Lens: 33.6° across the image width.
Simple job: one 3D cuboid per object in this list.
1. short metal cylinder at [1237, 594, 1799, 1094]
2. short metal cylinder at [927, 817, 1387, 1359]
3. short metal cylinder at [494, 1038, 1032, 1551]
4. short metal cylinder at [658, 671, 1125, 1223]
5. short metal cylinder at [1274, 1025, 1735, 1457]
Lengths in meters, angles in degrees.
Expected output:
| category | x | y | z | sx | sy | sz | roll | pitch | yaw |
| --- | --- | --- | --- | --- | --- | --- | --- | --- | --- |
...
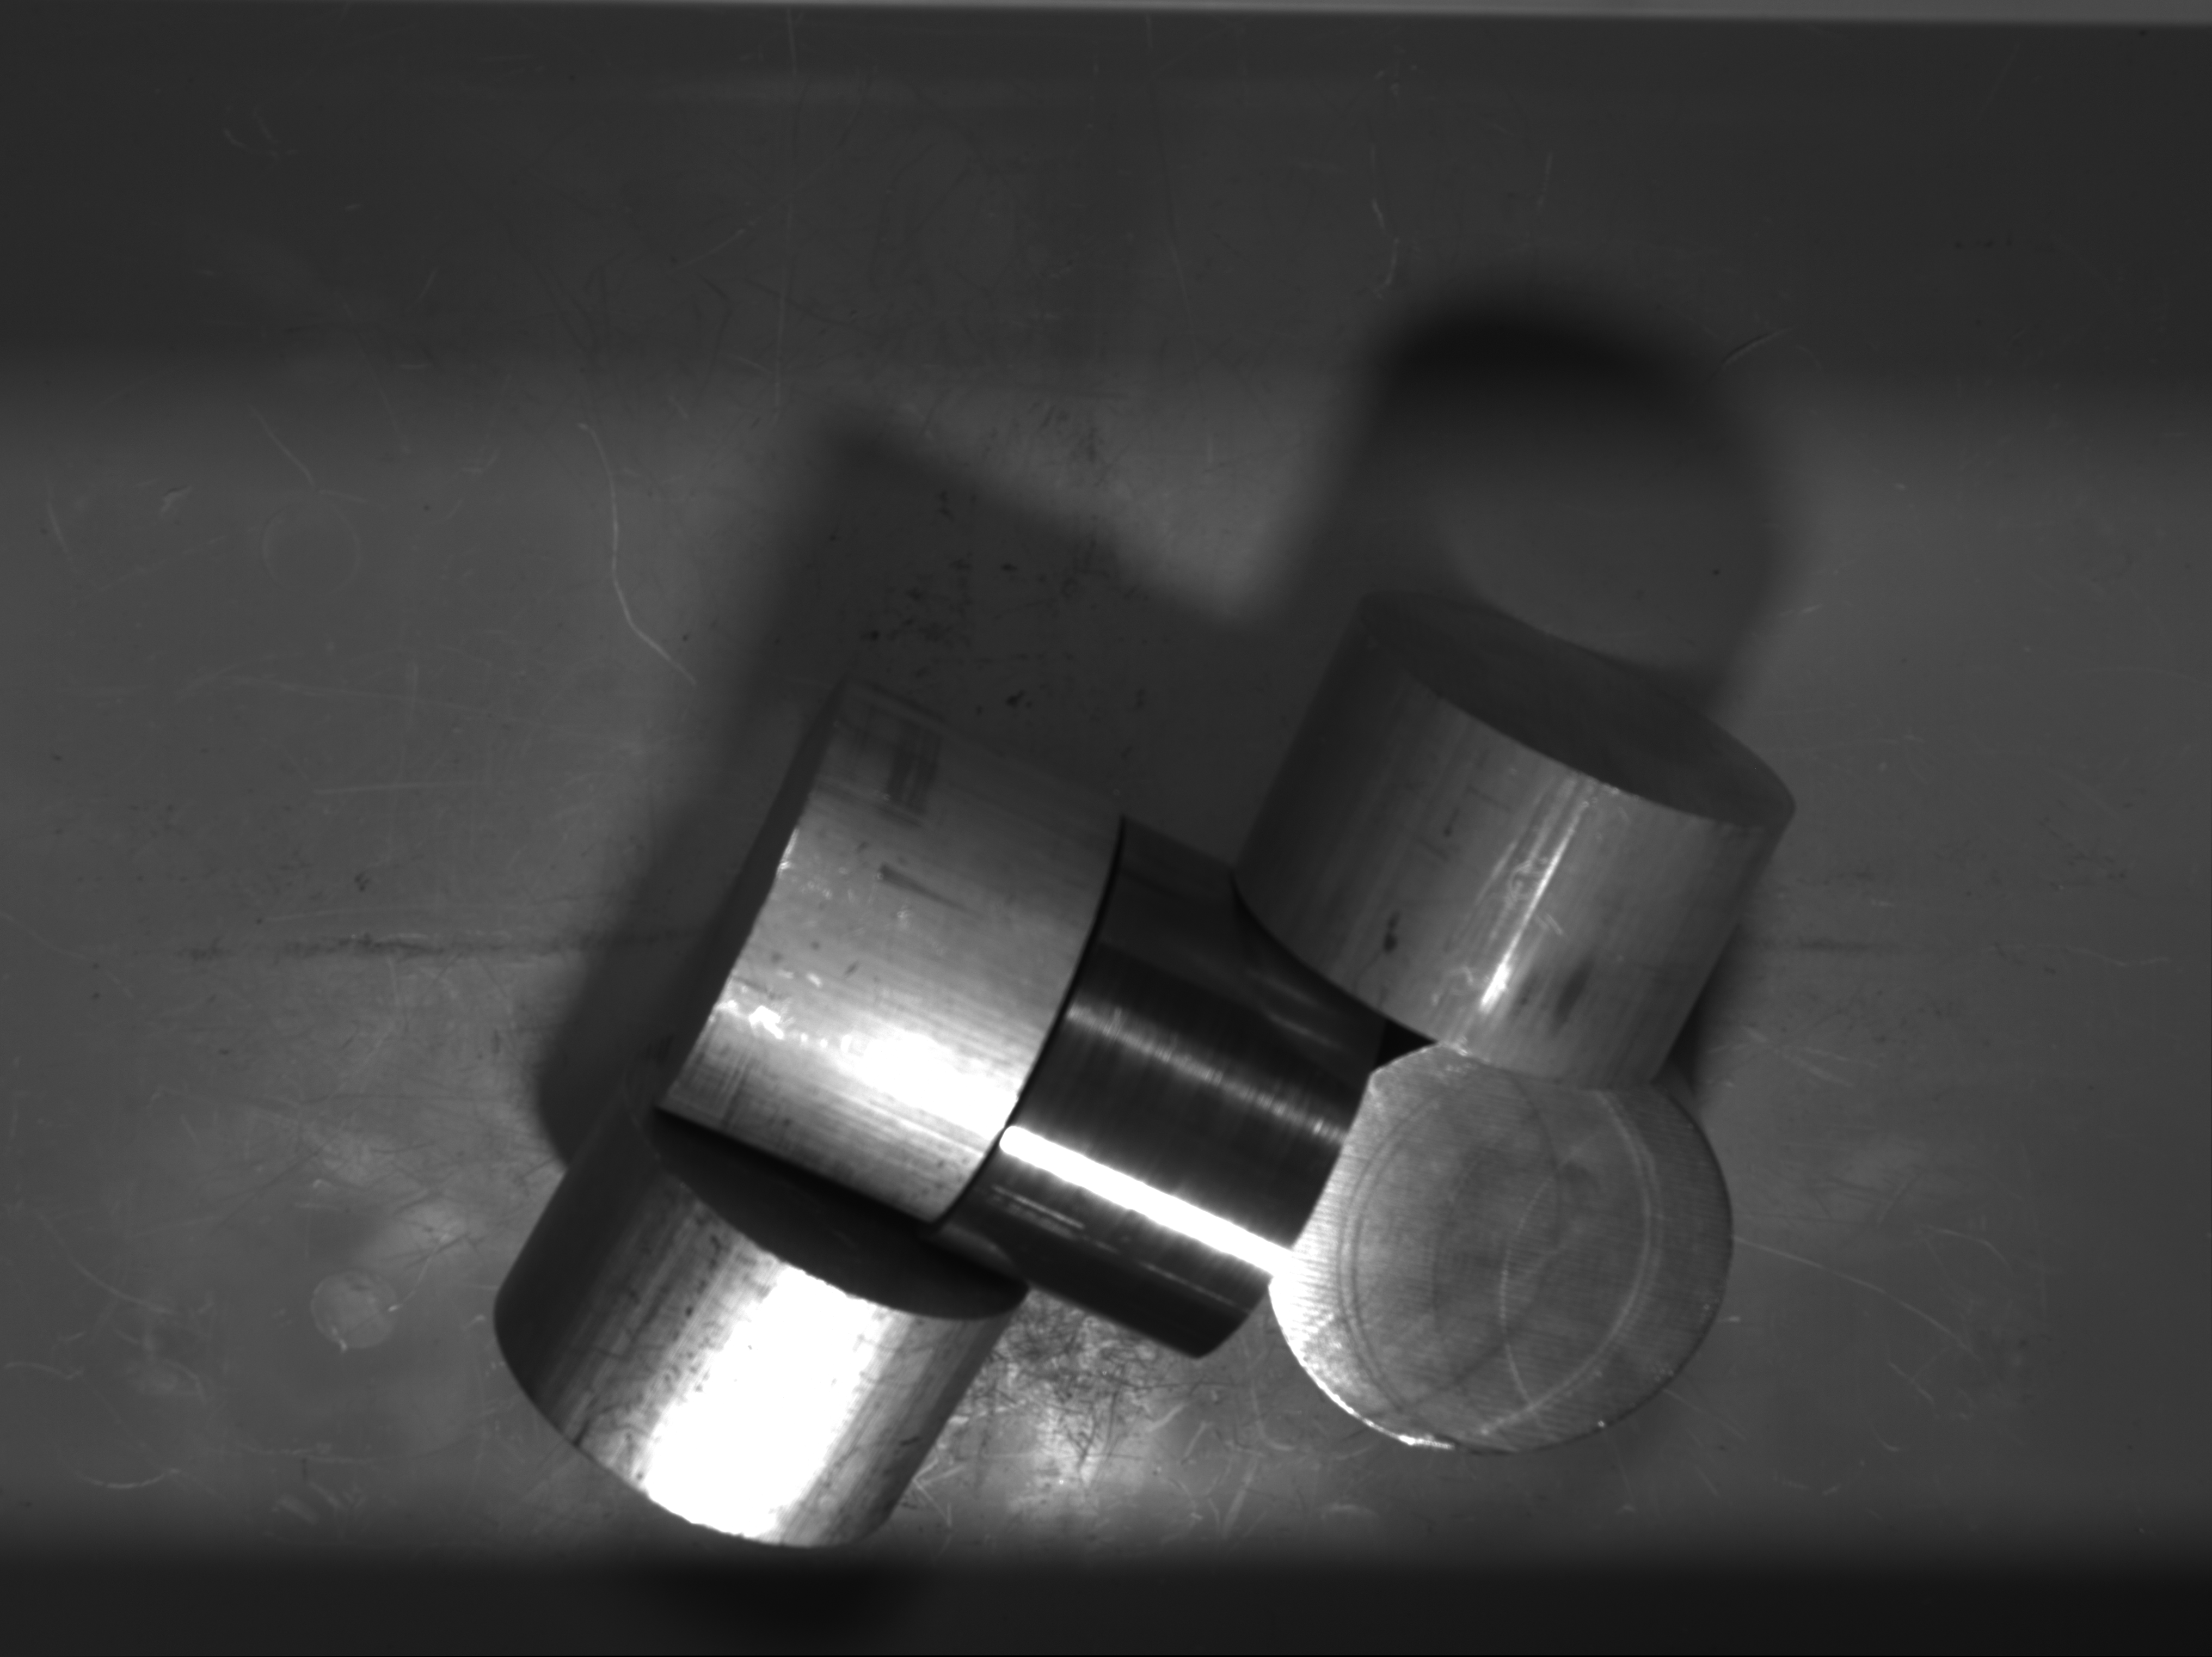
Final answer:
| category | x | y | z | sx | sy | sz | roll | pitch | yaw |
| --- | --- | --- | --- | --- | --- | --- | --- | --- | --- |
| short metal cylinder | 0.069 | 0.002 | 0.614 | 0.080 | 0.080 | 0.050 | 22 | 108 | -8 |
| short metal cylinder | 0.009 | 0.044 | 0.629 | 0.050 | 0.080 | 0.080 | 25 | 108 | -9 |
| short metal cylinder | -0.059 | 0.080 | 0.641 | 0.080 | 0.080 | 0.050 | 28 | 107 | -10 |
| short metal cylinder | -0.037 | 0.020 | 0.619 | 0.050 | 0.080 | 0.080 | 24 | 108 | -9 |
| short metal cylinder | 0.068 | 0.064 | 0.652 | 0.080 | 0.050 | 0.080 | 0 | 110 | -1 |
